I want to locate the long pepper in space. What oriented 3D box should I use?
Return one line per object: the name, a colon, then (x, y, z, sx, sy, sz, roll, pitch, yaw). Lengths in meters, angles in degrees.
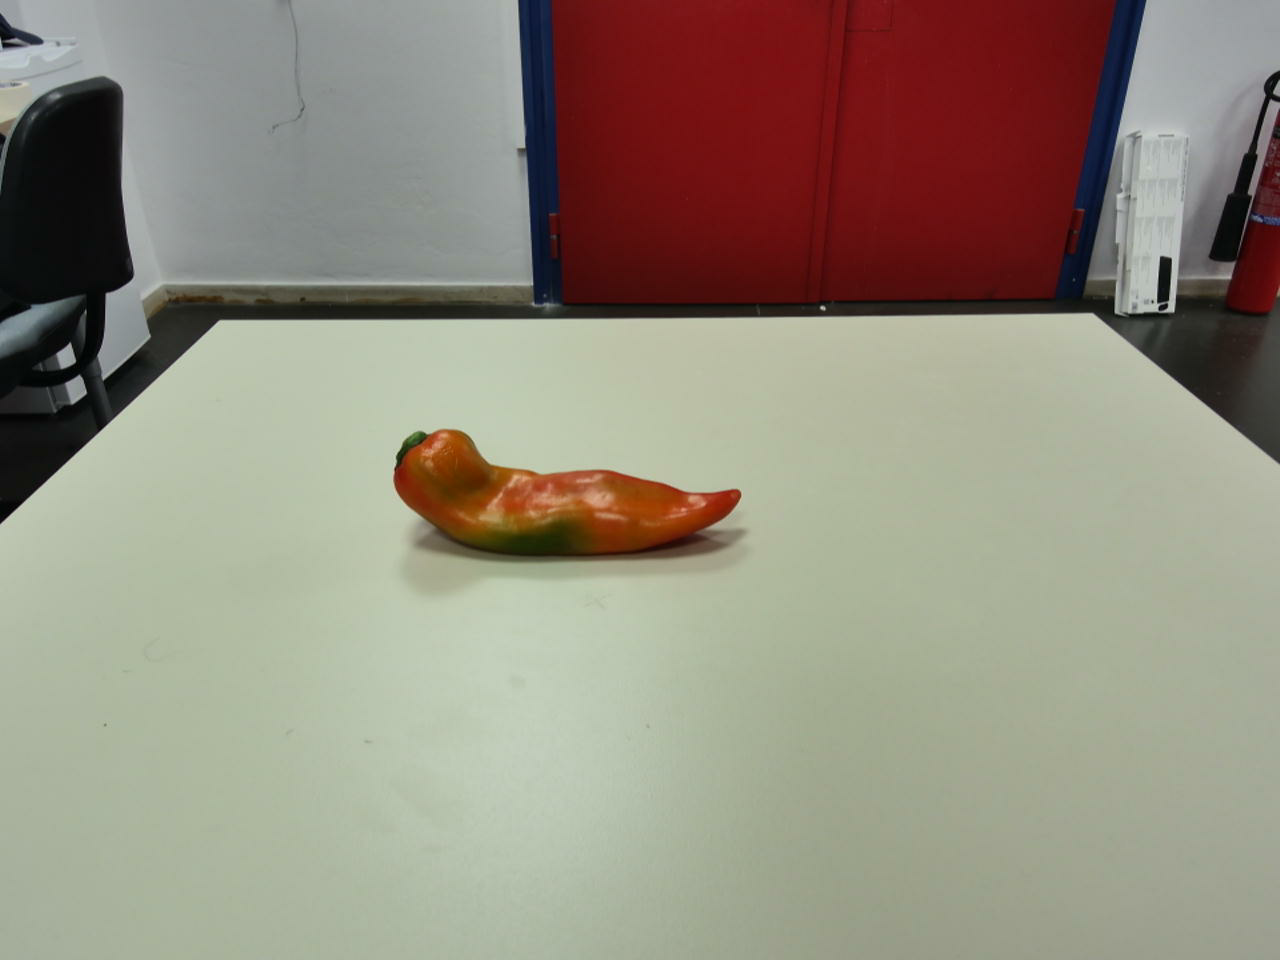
long pepper: (-0.042, 0.004, 0.574, 0.199, 0.065, 0.066, 2, 27, 4)
